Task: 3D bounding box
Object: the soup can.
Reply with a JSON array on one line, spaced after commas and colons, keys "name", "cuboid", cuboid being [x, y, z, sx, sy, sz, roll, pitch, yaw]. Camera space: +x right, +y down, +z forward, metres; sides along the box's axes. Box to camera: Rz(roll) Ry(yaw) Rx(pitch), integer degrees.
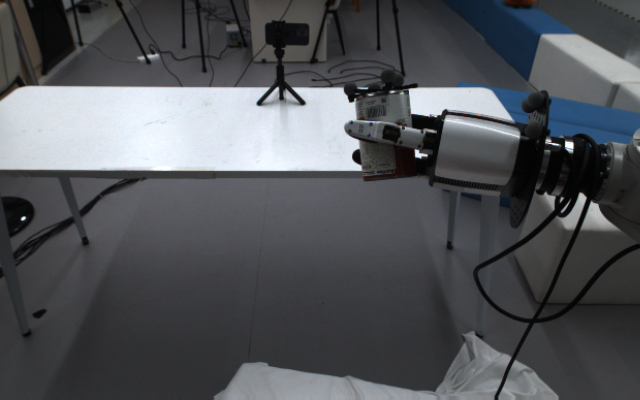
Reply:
[{"name": "soup can", "cuboid": [0.082, -0.077, 0.592, 0.067, 0.101, 0.067, -7, 3, 0]}]
